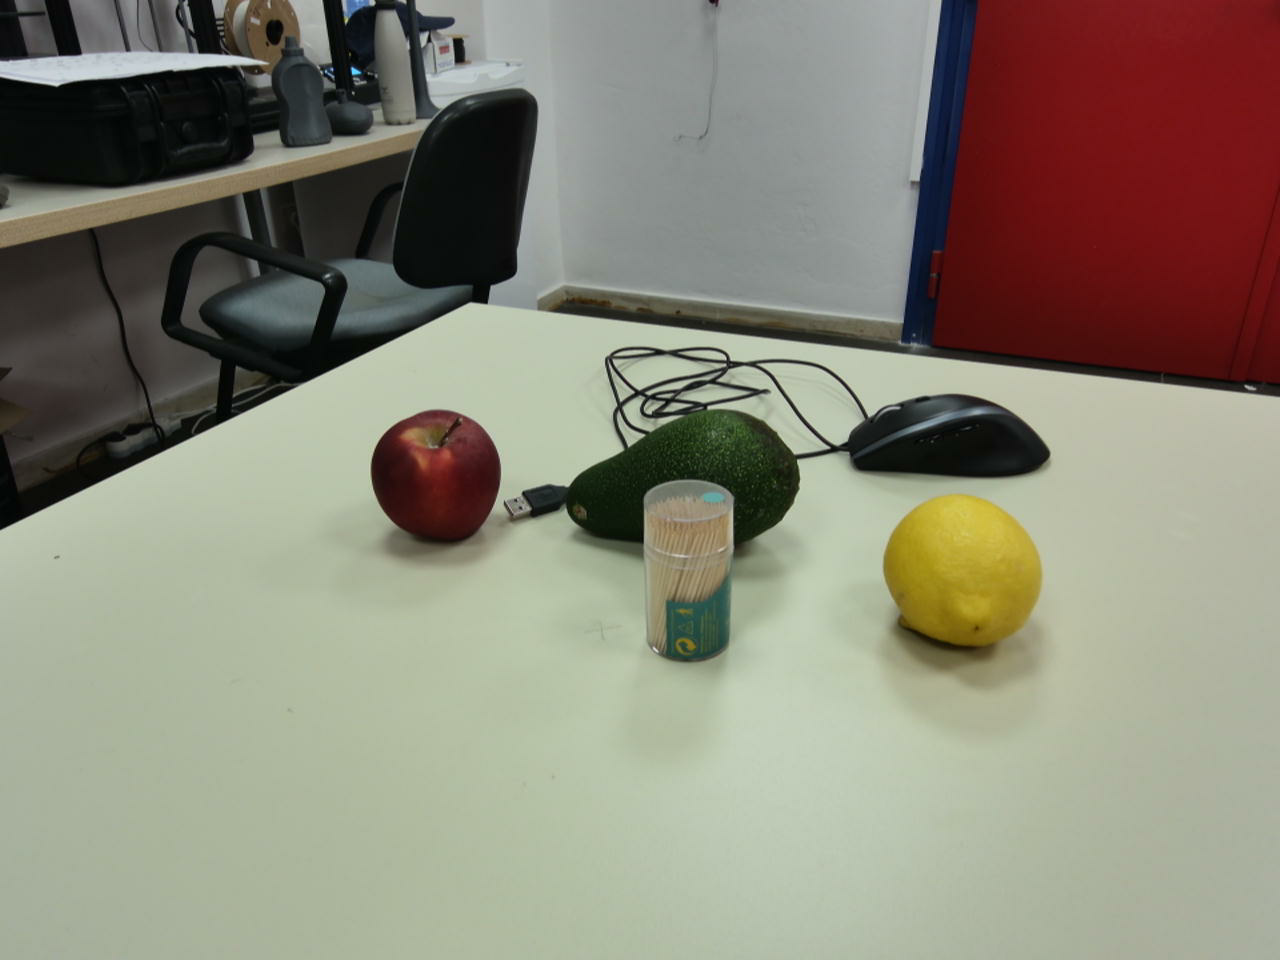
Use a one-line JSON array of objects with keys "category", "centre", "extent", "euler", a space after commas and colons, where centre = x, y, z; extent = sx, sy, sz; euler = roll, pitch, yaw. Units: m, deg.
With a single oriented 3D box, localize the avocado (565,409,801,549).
[{"category": "avocado", "centre": [0.026, -0.003, 0.534], "extent": [0.123, 0.076, 0.074], "euler": [14, 28, 28]}]
